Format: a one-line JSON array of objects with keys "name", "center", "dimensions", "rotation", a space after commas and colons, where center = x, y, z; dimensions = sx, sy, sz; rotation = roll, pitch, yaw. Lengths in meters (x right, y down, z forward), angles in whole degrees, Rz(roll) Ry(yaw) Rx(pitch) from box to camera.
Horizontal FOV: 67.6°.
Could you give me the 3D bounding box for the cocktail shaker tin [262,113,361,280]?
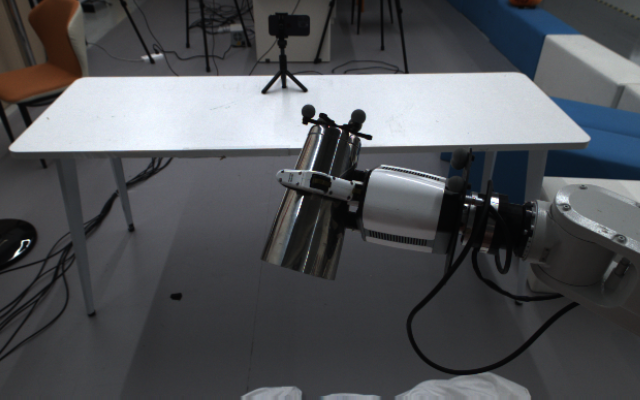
[{"name": "cocktail shaker tin", "center": [-0.004, 0.001, 0.582], "dimensions": [0.093, 0.170, 0.093], "rotation": [16, -6, 2]}]
